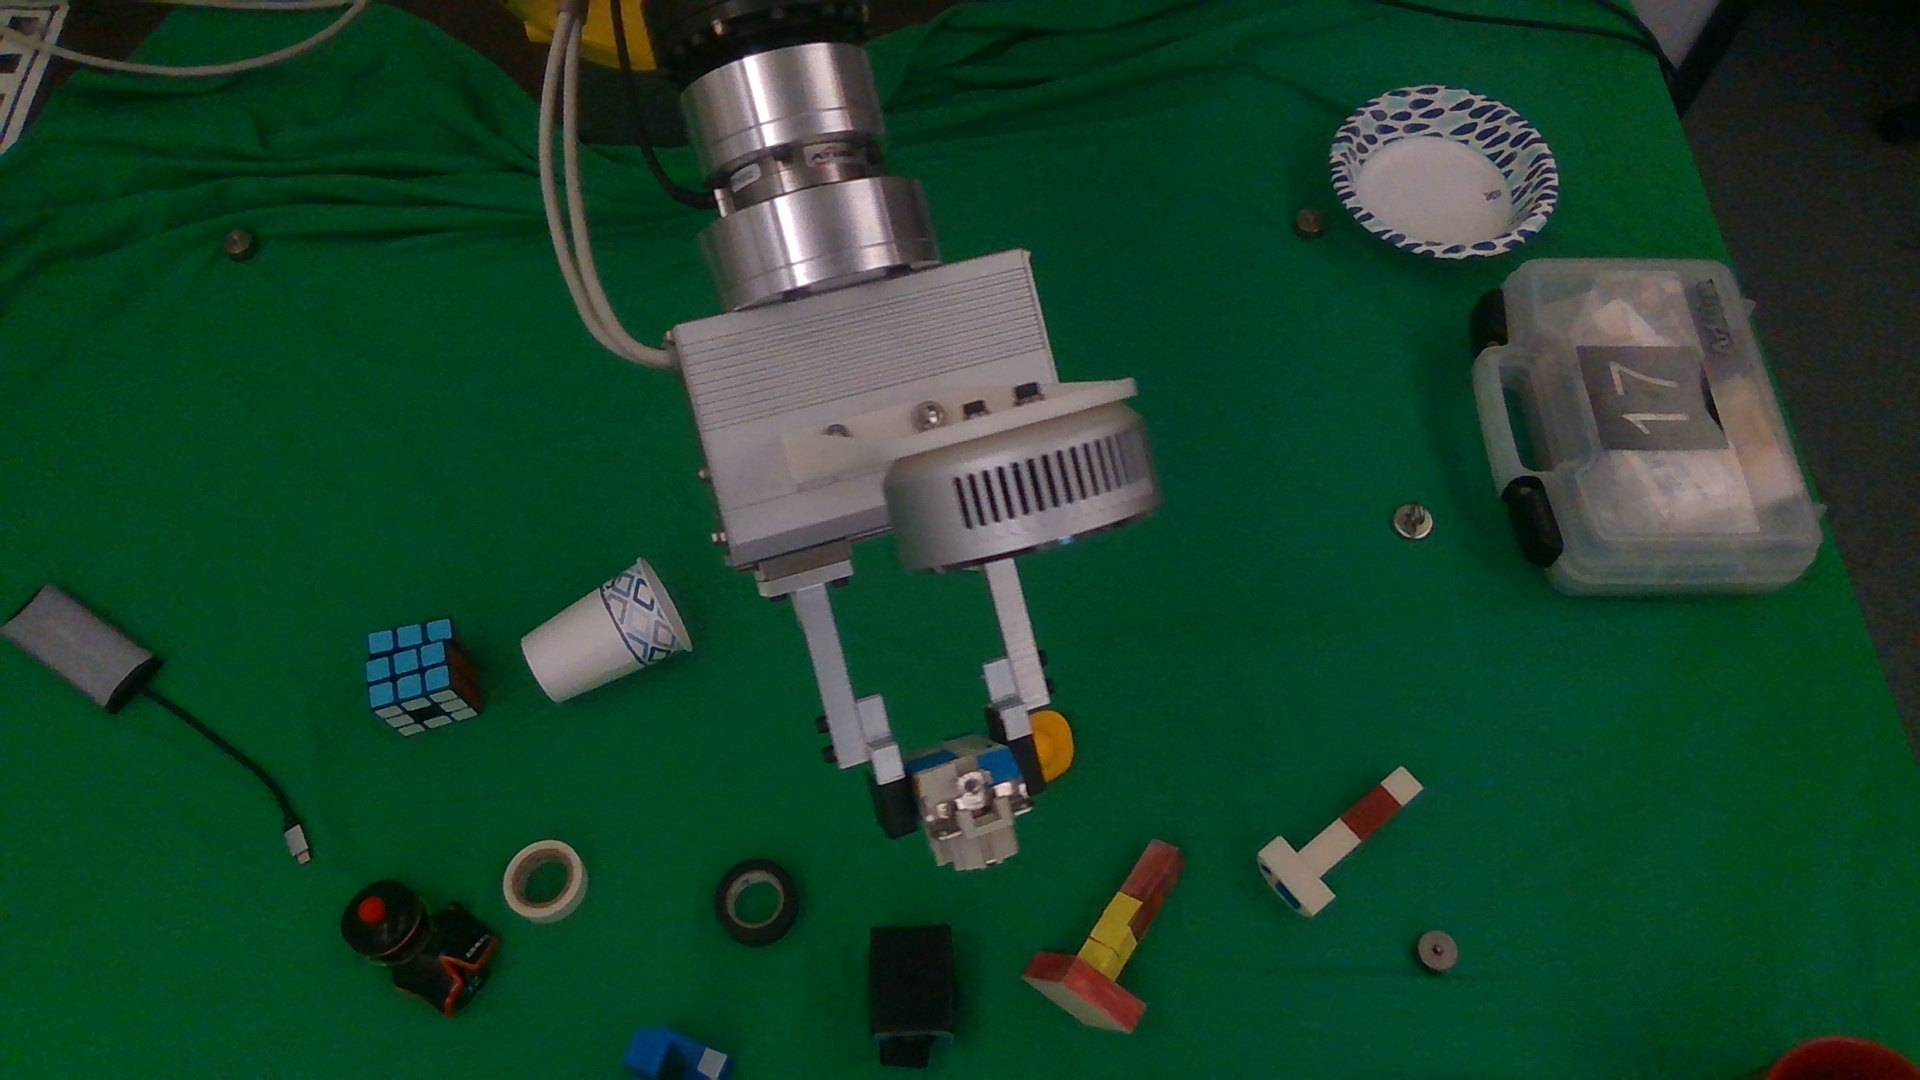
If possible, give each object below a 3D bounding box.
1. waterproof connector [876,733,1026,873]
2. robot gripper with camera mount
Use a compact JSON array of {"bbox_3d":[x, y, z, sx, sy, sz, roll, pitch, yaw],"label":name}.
[{"bbox_3d":[-0.005,0.085,0.448,0.035,0.065,0.037,-11,90,-19],"label":"waterproof connector"},{"bbox_3d":[0.004,0.006,0.369,0.119,0.194,0.158,-13,90,-16],"label":"robot gripper with camera mount"}]
